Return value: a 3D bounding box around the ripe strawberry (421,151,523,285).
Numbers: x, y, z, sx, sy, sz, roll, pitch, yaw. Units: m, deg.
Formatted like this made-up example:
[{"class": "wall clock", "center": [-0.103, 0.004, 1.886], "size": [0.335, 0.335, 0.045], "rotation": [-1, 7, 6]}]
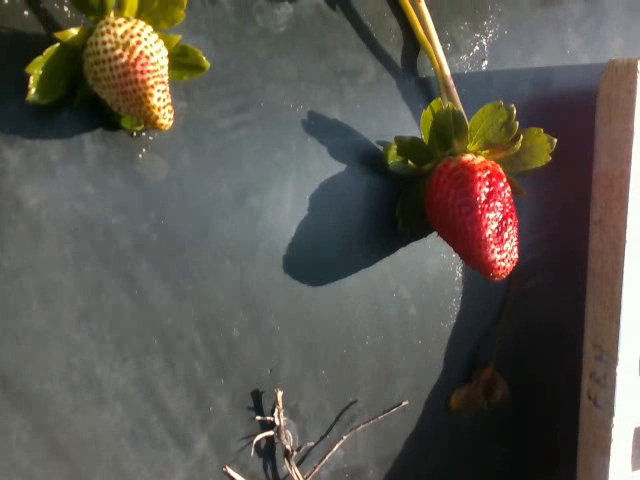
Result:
[{"class": "ripe strawberry", "center": [0.021, -0.004, 0.083], "size": [0.015, 0.023, 0.015], "rotation": [0, -39, -23]}]
